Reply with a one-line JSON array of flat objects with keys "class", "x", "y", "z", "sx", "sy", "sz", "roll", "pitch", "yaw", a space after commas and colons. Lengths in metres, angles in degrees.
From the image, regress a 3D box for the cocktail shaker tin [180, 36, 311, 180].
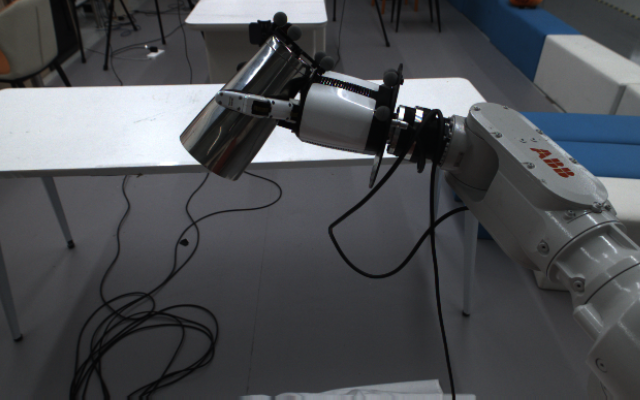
[{"class": "cocktail shaker tin", "x": -0.087, "y": -0.121, "z": 0.610, "sx": 0.093, "sy": 0.170, "sz": 0.093, "roll": 41, "pitch": 12, "yaw": -11}]
